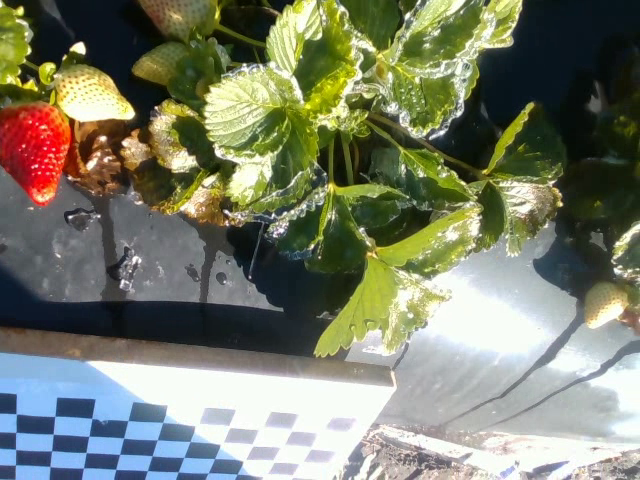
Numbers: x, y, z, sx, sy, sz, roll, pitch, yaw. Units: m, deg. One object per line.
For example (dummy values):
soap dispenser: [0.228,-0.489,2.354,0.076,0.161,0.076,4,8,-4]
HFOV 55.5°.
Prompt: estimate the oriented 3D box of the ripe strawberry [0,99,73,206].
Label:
ripe strawberry: [-0.132,-0.038,0.280,0.040,0.053,0.042,-20,-19,4]
